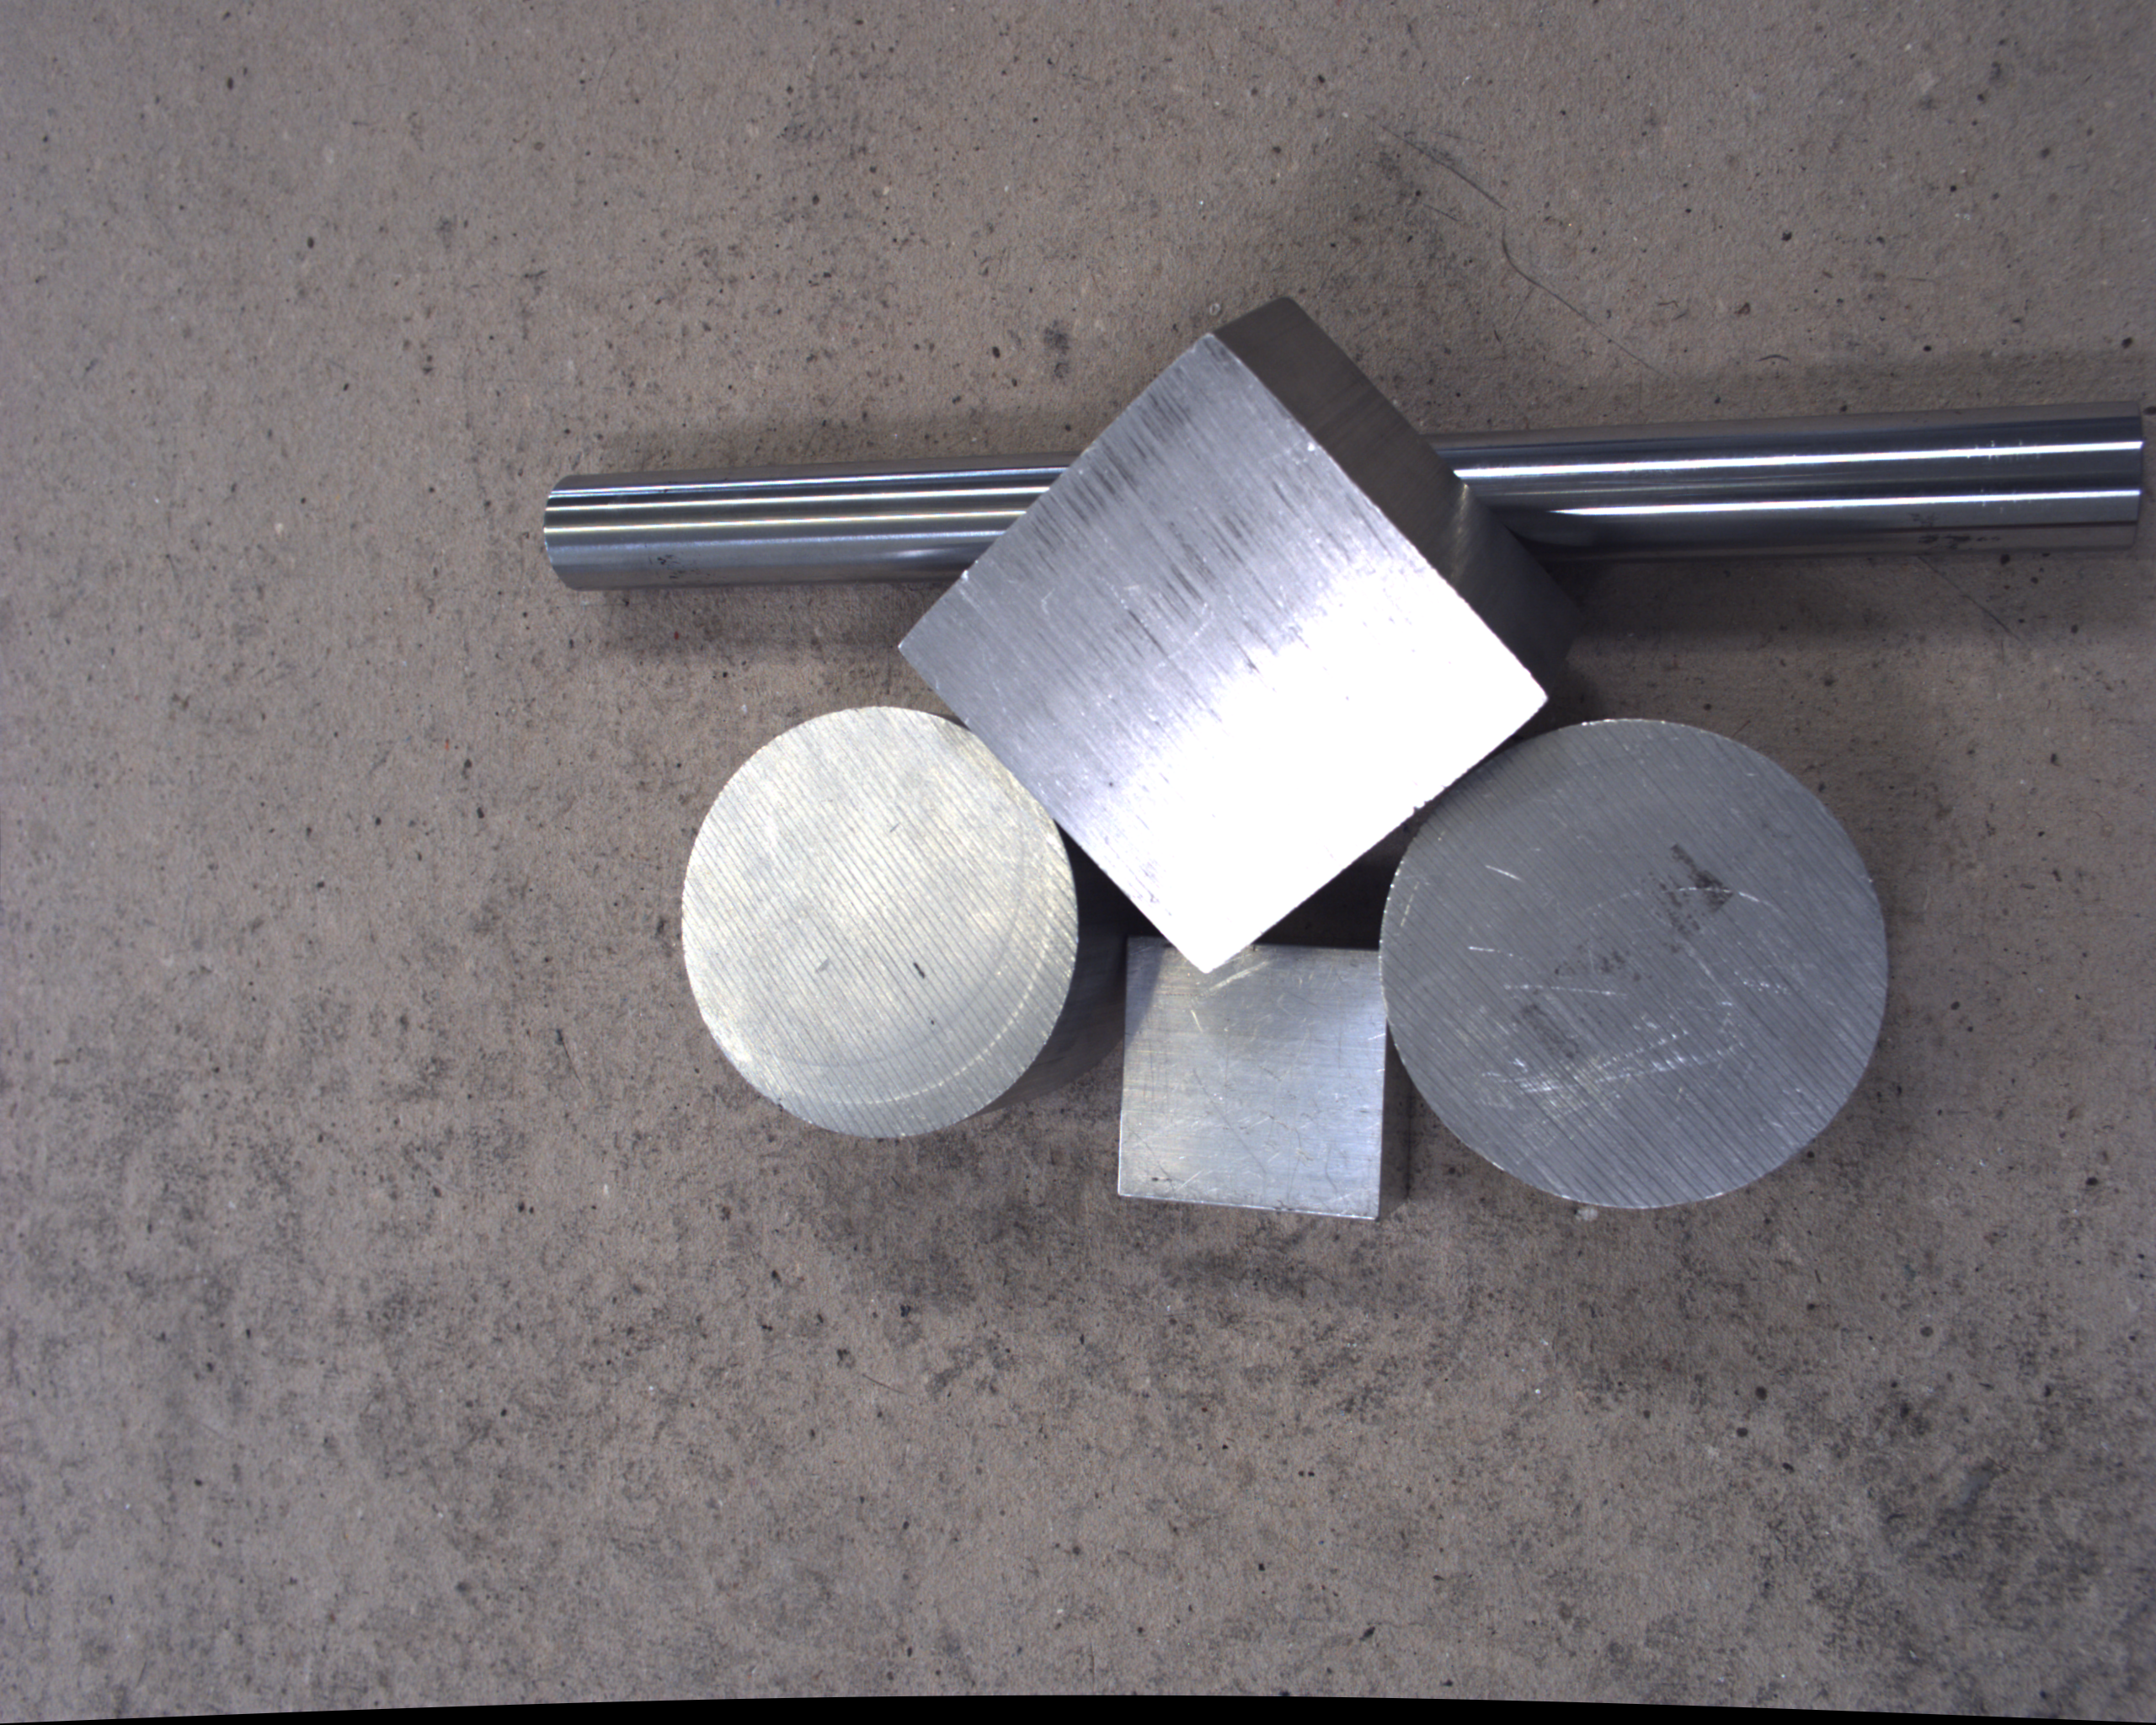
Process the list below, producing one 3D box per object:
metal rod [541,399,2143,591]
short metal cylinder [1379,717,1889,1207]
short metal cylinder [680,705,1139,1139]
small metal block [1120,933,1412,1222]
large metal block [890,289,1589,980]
[{"bbox_3d":[0.034,-0.068,0.398,0.301,0.025,0.025,1,91,19],"label":"metal rod"},{"bbox_3d":[0.097,0.016,0.362,0.080,0.050,0.079,0,90,20],"label":"short metal cylinder"},{"bbox_3d":[-0.029,0.011,0.406,0.080,0.050,0.079,0,90,20],"label":"short metal cylinder"},{"bbox_3d":[0.037,0.039,0.398,0.050,0.025,0.050,2,91,20],"label":"small metal block"},{"bbox_3d":[0.029,-0.040,0.368,0.080,0.050,0.080,47,119,-3],"label":"large metal block"}]
